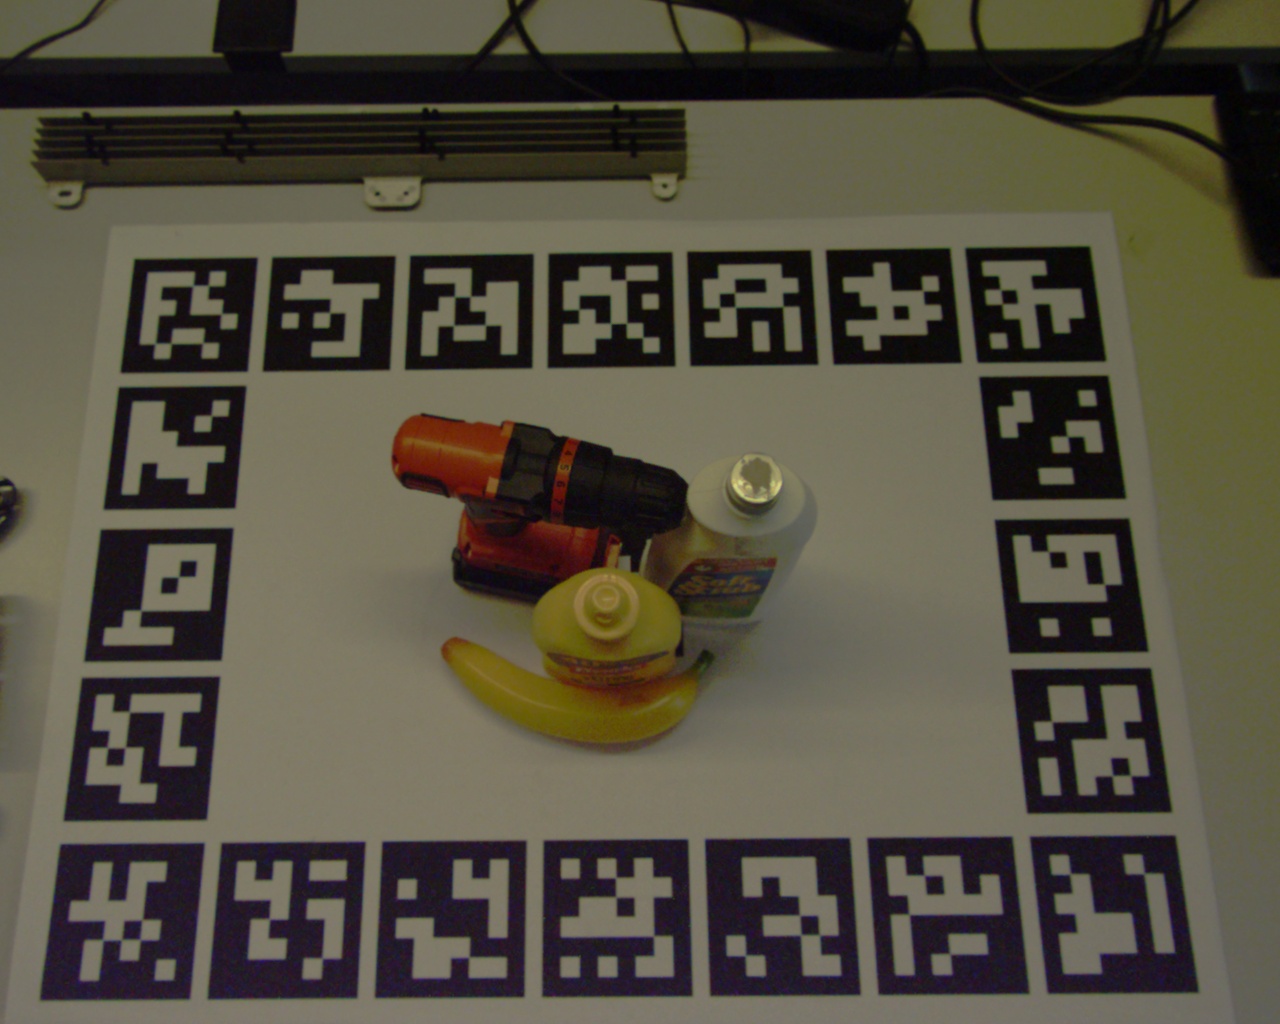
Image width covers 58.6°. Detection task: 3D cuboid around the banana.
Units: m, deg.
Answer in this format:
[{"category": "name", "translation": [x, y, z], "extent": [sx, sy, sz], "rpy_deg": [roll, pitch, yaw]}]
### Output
[{"category": "banana", "translation": [-0.044, 0.133, 0.844], "extent": [0.198, 0.039, 0.074], "rpy_deg": [3, 76, 4]}]

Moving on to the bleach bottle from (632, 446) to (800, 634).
[{"category": "bleach bottle", "translation": [0.047, 0.019, 0.761], "extent": [0.102, 0.250, 0.068], "rpy_deg": [2, 69, 0]}]

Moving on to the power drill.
[{"category": "power drill", "translation": [-0.064, 0.009, 0.769], "extent": [0.185, 0.187, 0.057], "rpy_deg": [11, 74, 1]}]

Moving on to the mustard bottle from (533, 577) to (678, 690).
[{"category": "mustard bottle", "translation": [-0.023, 0.082, 0.769], "extent": [0.096, 0.191, 0.058], "rpy_deg": [0, 75, -2]}]
